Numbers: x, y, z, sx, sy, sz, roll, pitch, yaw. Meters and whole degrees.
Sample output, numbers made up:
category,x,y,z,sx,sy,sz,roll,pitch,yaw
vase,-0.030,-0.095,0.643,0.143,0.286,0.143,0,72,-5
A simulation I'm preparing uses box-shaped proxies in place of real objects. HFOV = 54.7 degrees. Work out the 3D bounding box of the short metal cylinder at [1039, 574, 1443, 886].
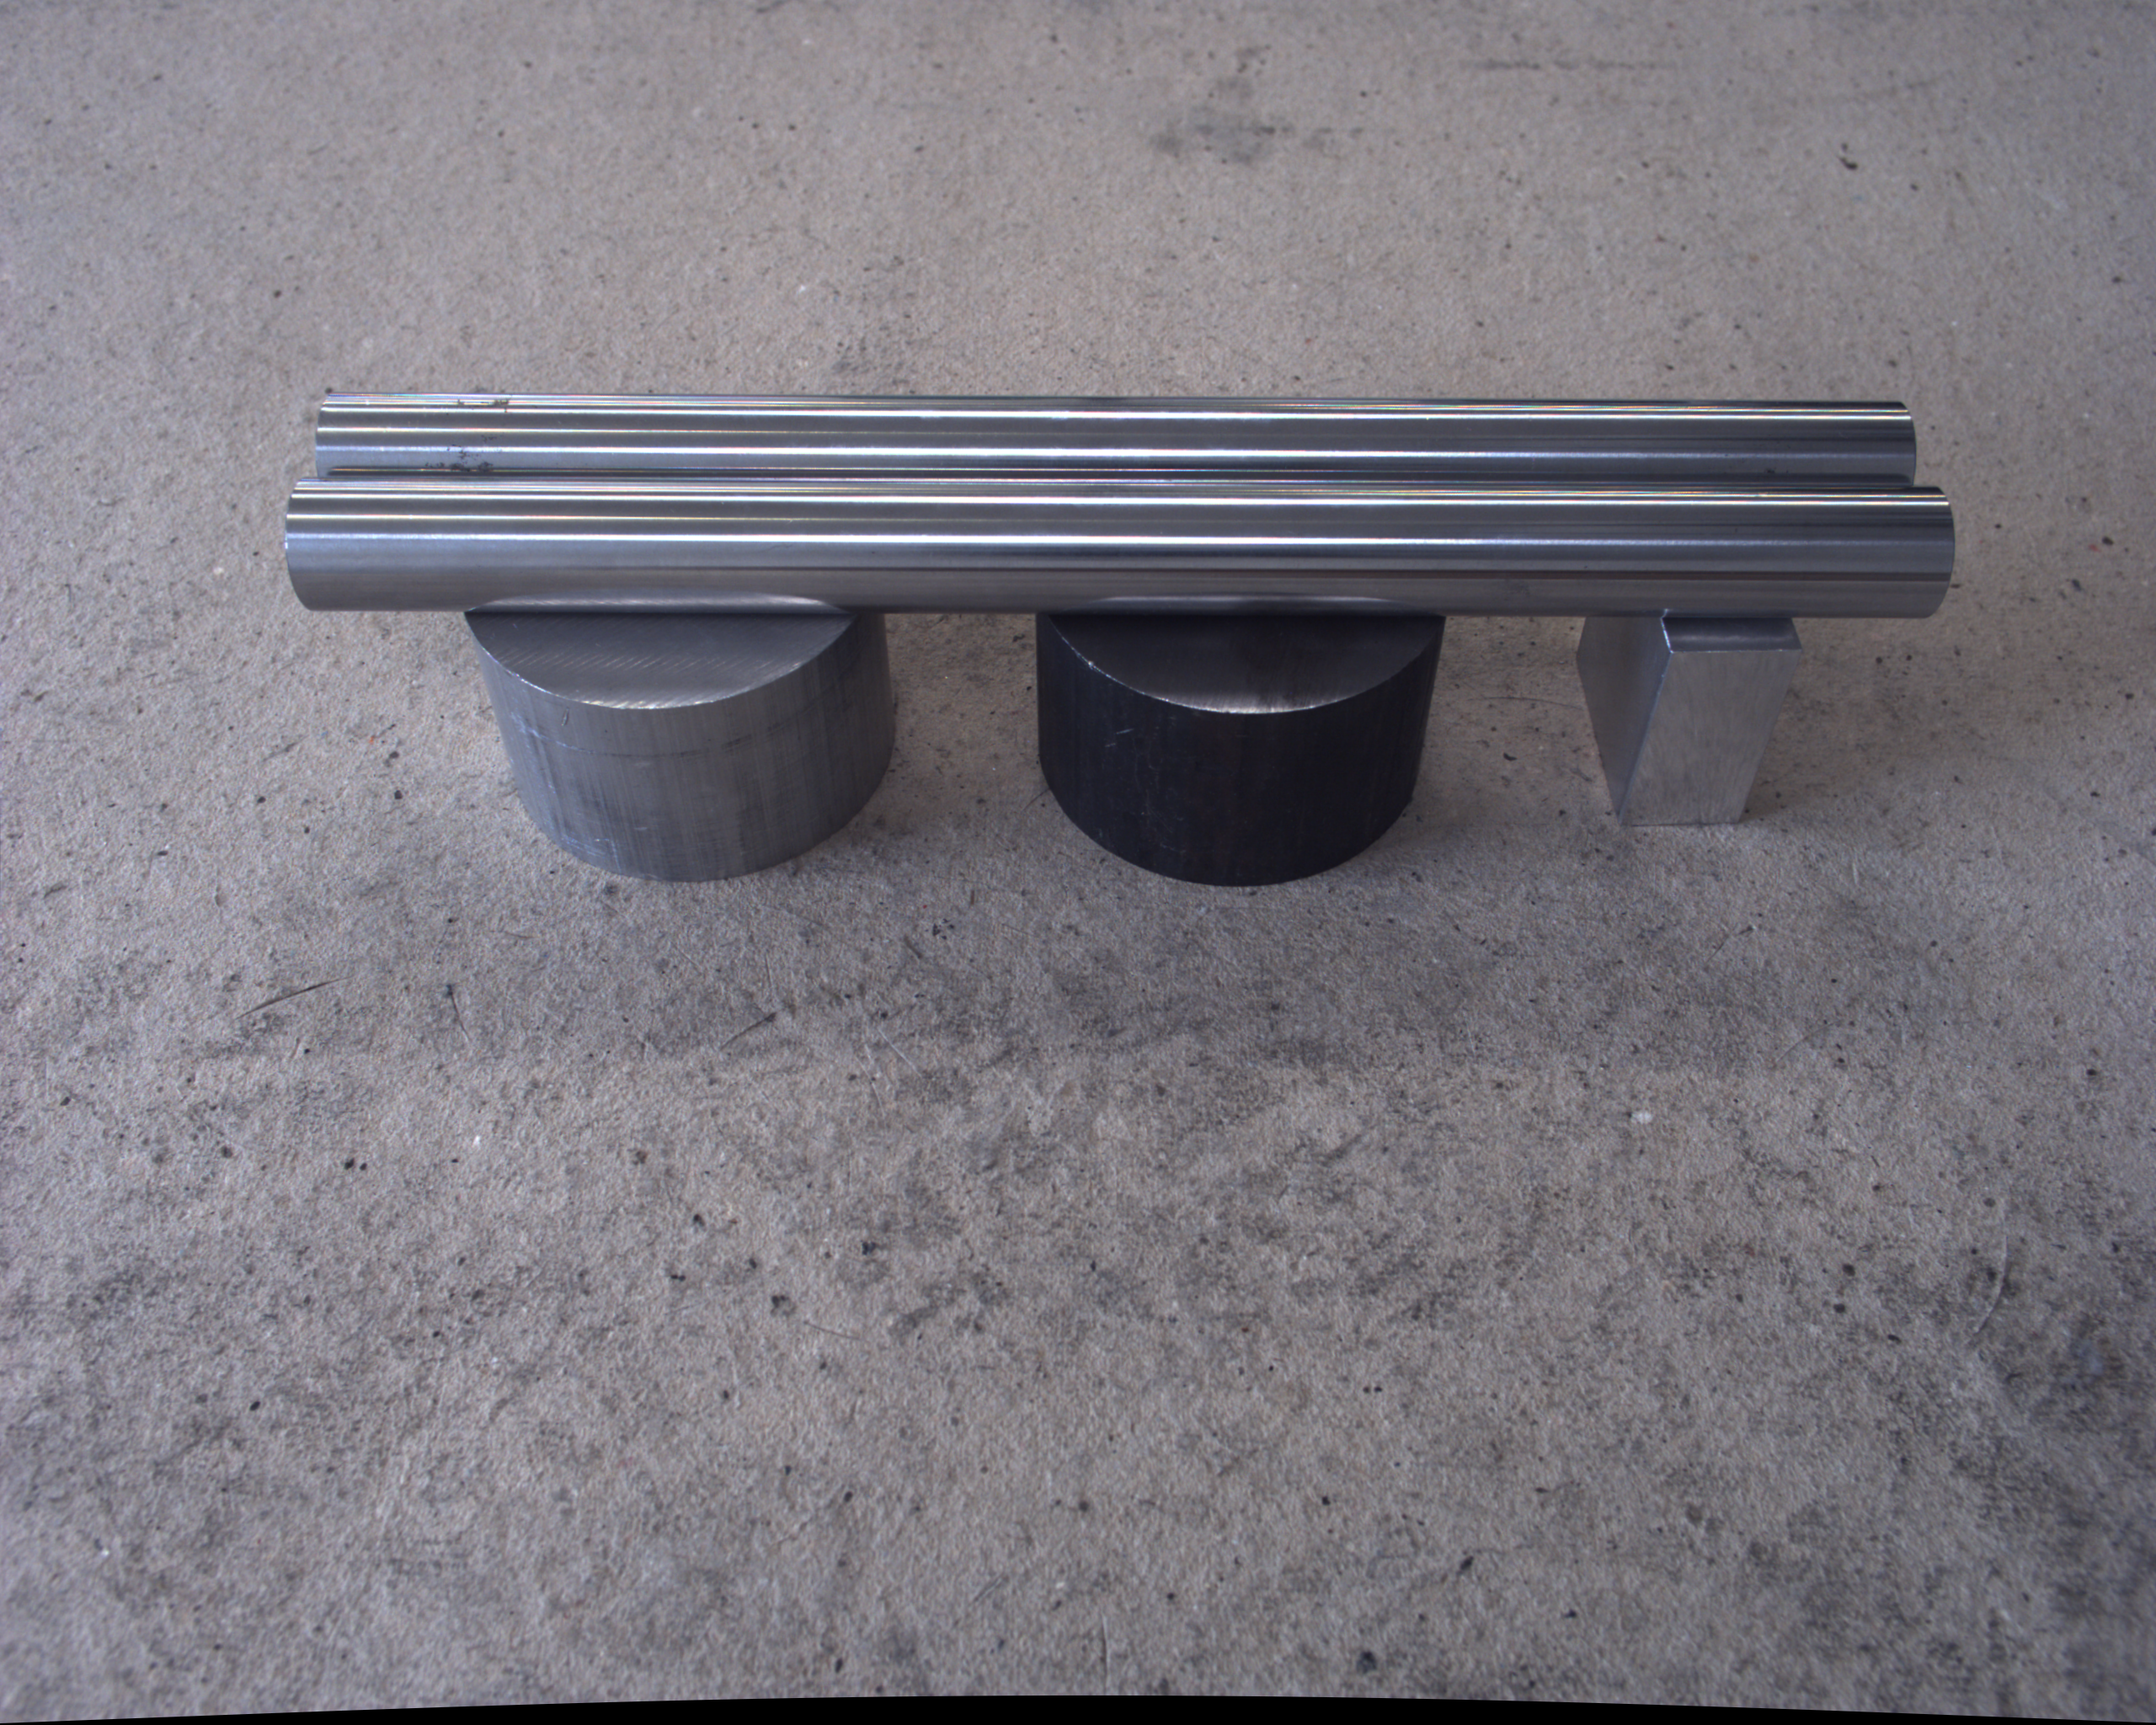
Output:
category,x,y,z,sx,sy,sz,roll,pitch,yaw
short metal cylinder,0.032,-0.042,0.424,0.081,0.050,0.080,0,50,0

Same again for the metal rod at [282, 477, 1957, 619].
category,x,y,z,sx,sy,sz,roll,pitch,yaw
metal rod,0.008,-0.058,0.388,0.302,0.025,0.025,0,50,0

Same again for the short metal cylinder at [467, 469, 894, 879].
category,x,y,z,sx,sy,sz,roll,pitch,yaw
short metal cylinder,-0.079,-0.043,0.423,0.081,0.050,0.080,0,50,0

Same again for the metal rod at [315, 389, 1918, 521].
category,x,y,z,sx,sy,sz,roll,pitch,yaw
metal rod,0.008,-0.079,0.405,0.302,0.025,0.025,0,50,0

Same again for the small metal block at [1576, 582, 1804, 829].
category,x,y,z,sx,sy,sz,roll,pitch,yaw
small metal block,0.123,-0.042,0.426,0.025,0.050,0.050,-1,50,-1
